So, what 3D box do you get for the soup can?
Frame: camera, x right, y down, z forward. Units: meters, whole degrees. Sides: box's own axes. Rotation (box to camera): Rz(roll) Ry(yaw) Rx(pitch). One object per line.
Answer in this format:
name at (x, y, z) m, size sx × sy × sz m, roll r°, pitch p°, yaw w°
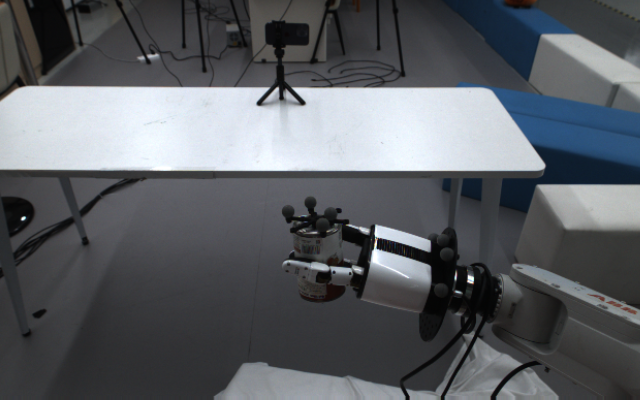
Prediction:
soup can at (0.001, 0.079, 0.661) m, size 0.067 × 0.101 × 0.067 m, roll -4°, pitch 21°, yaw 1°
